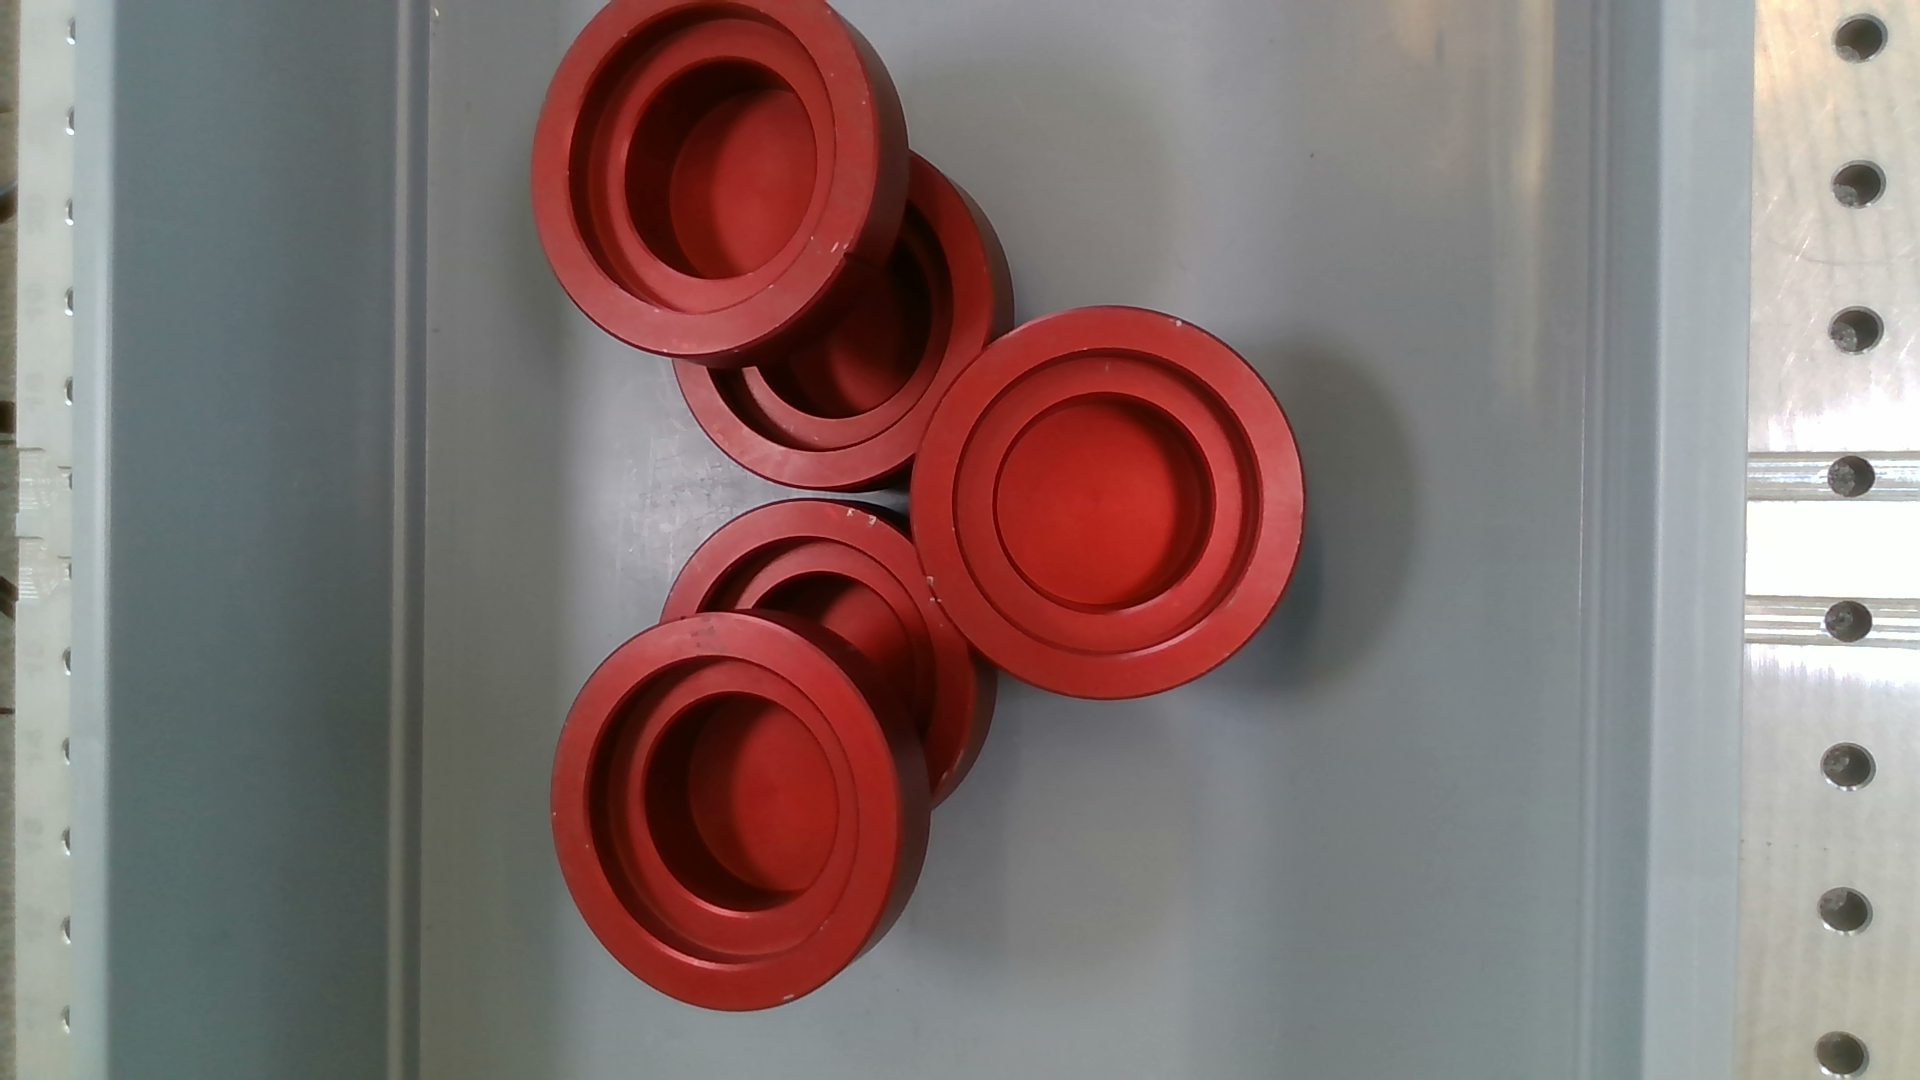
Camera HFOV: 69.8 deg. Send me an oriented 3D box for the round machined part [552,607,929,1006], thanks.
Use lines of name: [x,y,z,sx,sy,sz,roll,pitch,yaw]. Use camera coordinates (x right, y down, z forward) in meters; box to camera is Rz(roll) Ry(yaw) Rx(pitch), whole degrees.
round machined part: [-0.053,0.066,0.360,0.098,0.042,0.098,0,90,20]

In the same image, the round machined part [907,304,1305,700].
round machined part: [0.037,-0.010,0.360,0.098,0.042,0.098,0,92,2]

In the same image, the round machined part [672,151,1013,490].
round machined part: [-0.031,-0.063,0.395,0.098,0.042,0.098,0,90,20]

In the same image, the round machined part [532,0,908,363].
round machined part: [-0.059,-0.094,0.360,0.098,0.042,0.098,0,90,20]

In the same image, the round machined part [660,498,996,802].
round machined part: [-0.036,0.037,0.398,0.098,0.042,0.098,0,90,20]
